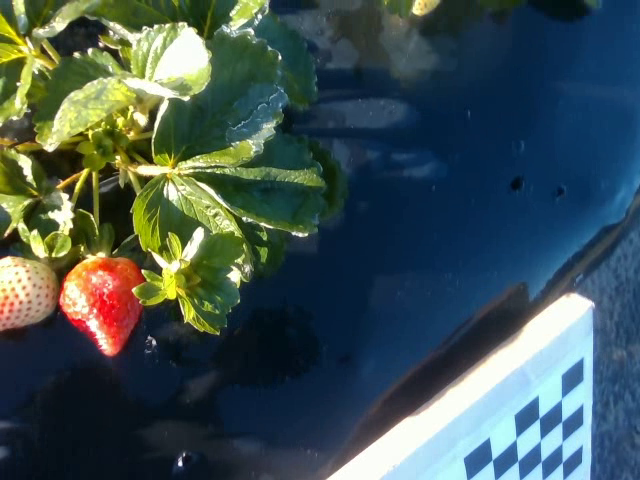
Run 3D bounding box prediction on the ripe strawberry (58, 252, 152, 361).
[{"bbox_3d":[-0.093,0.031,0.265,0.040,0.056,0.037,-29,-48,10],"label":"ripe strawberry"}]
